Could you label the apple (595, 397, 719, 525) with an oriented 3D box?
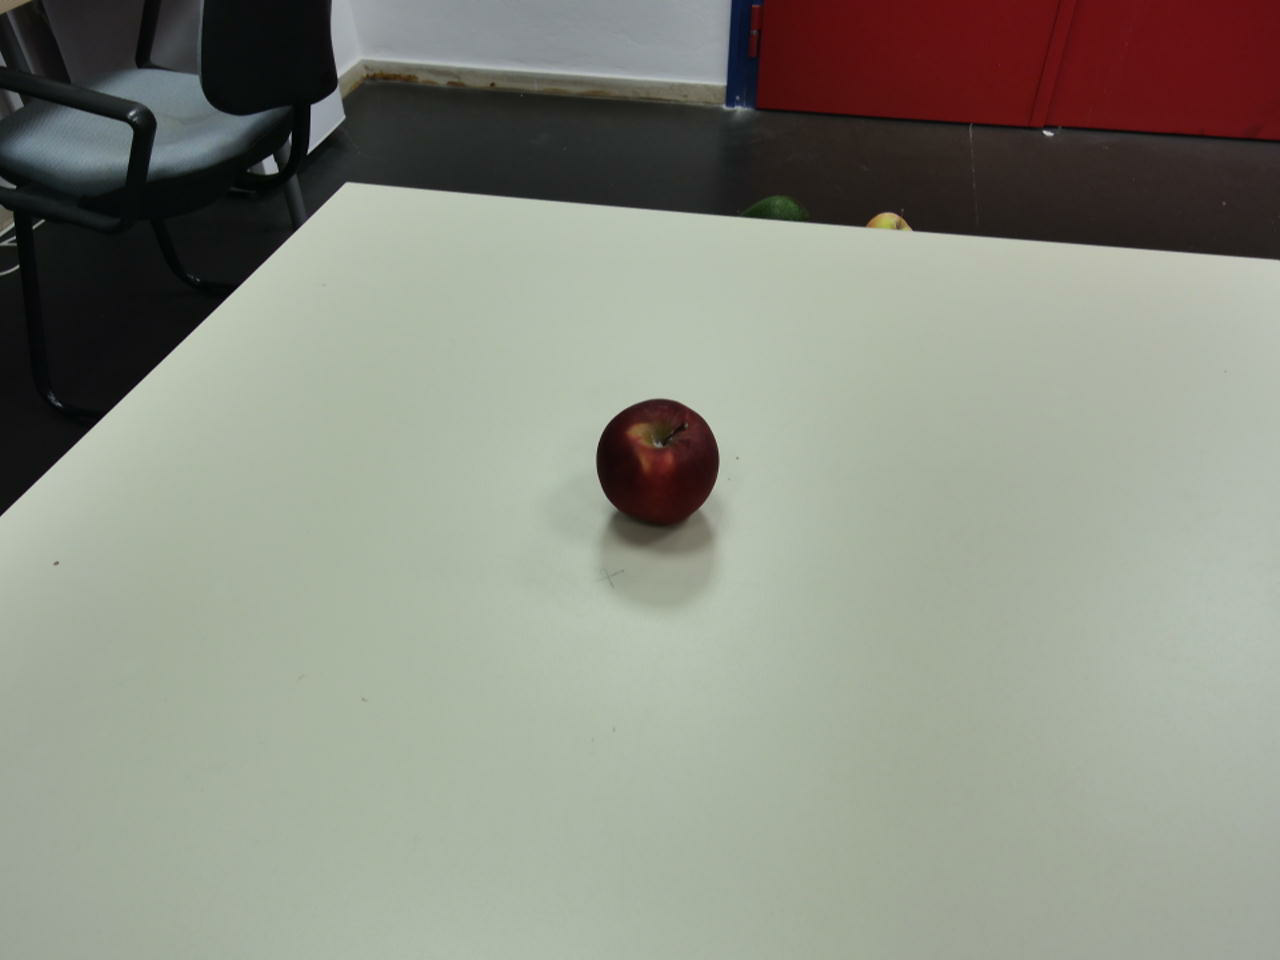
[{"bbox_3d":[0.010,-0.008,0.559,0.070,0.072,0.070,1,39,-1],"label":"apple"}]
